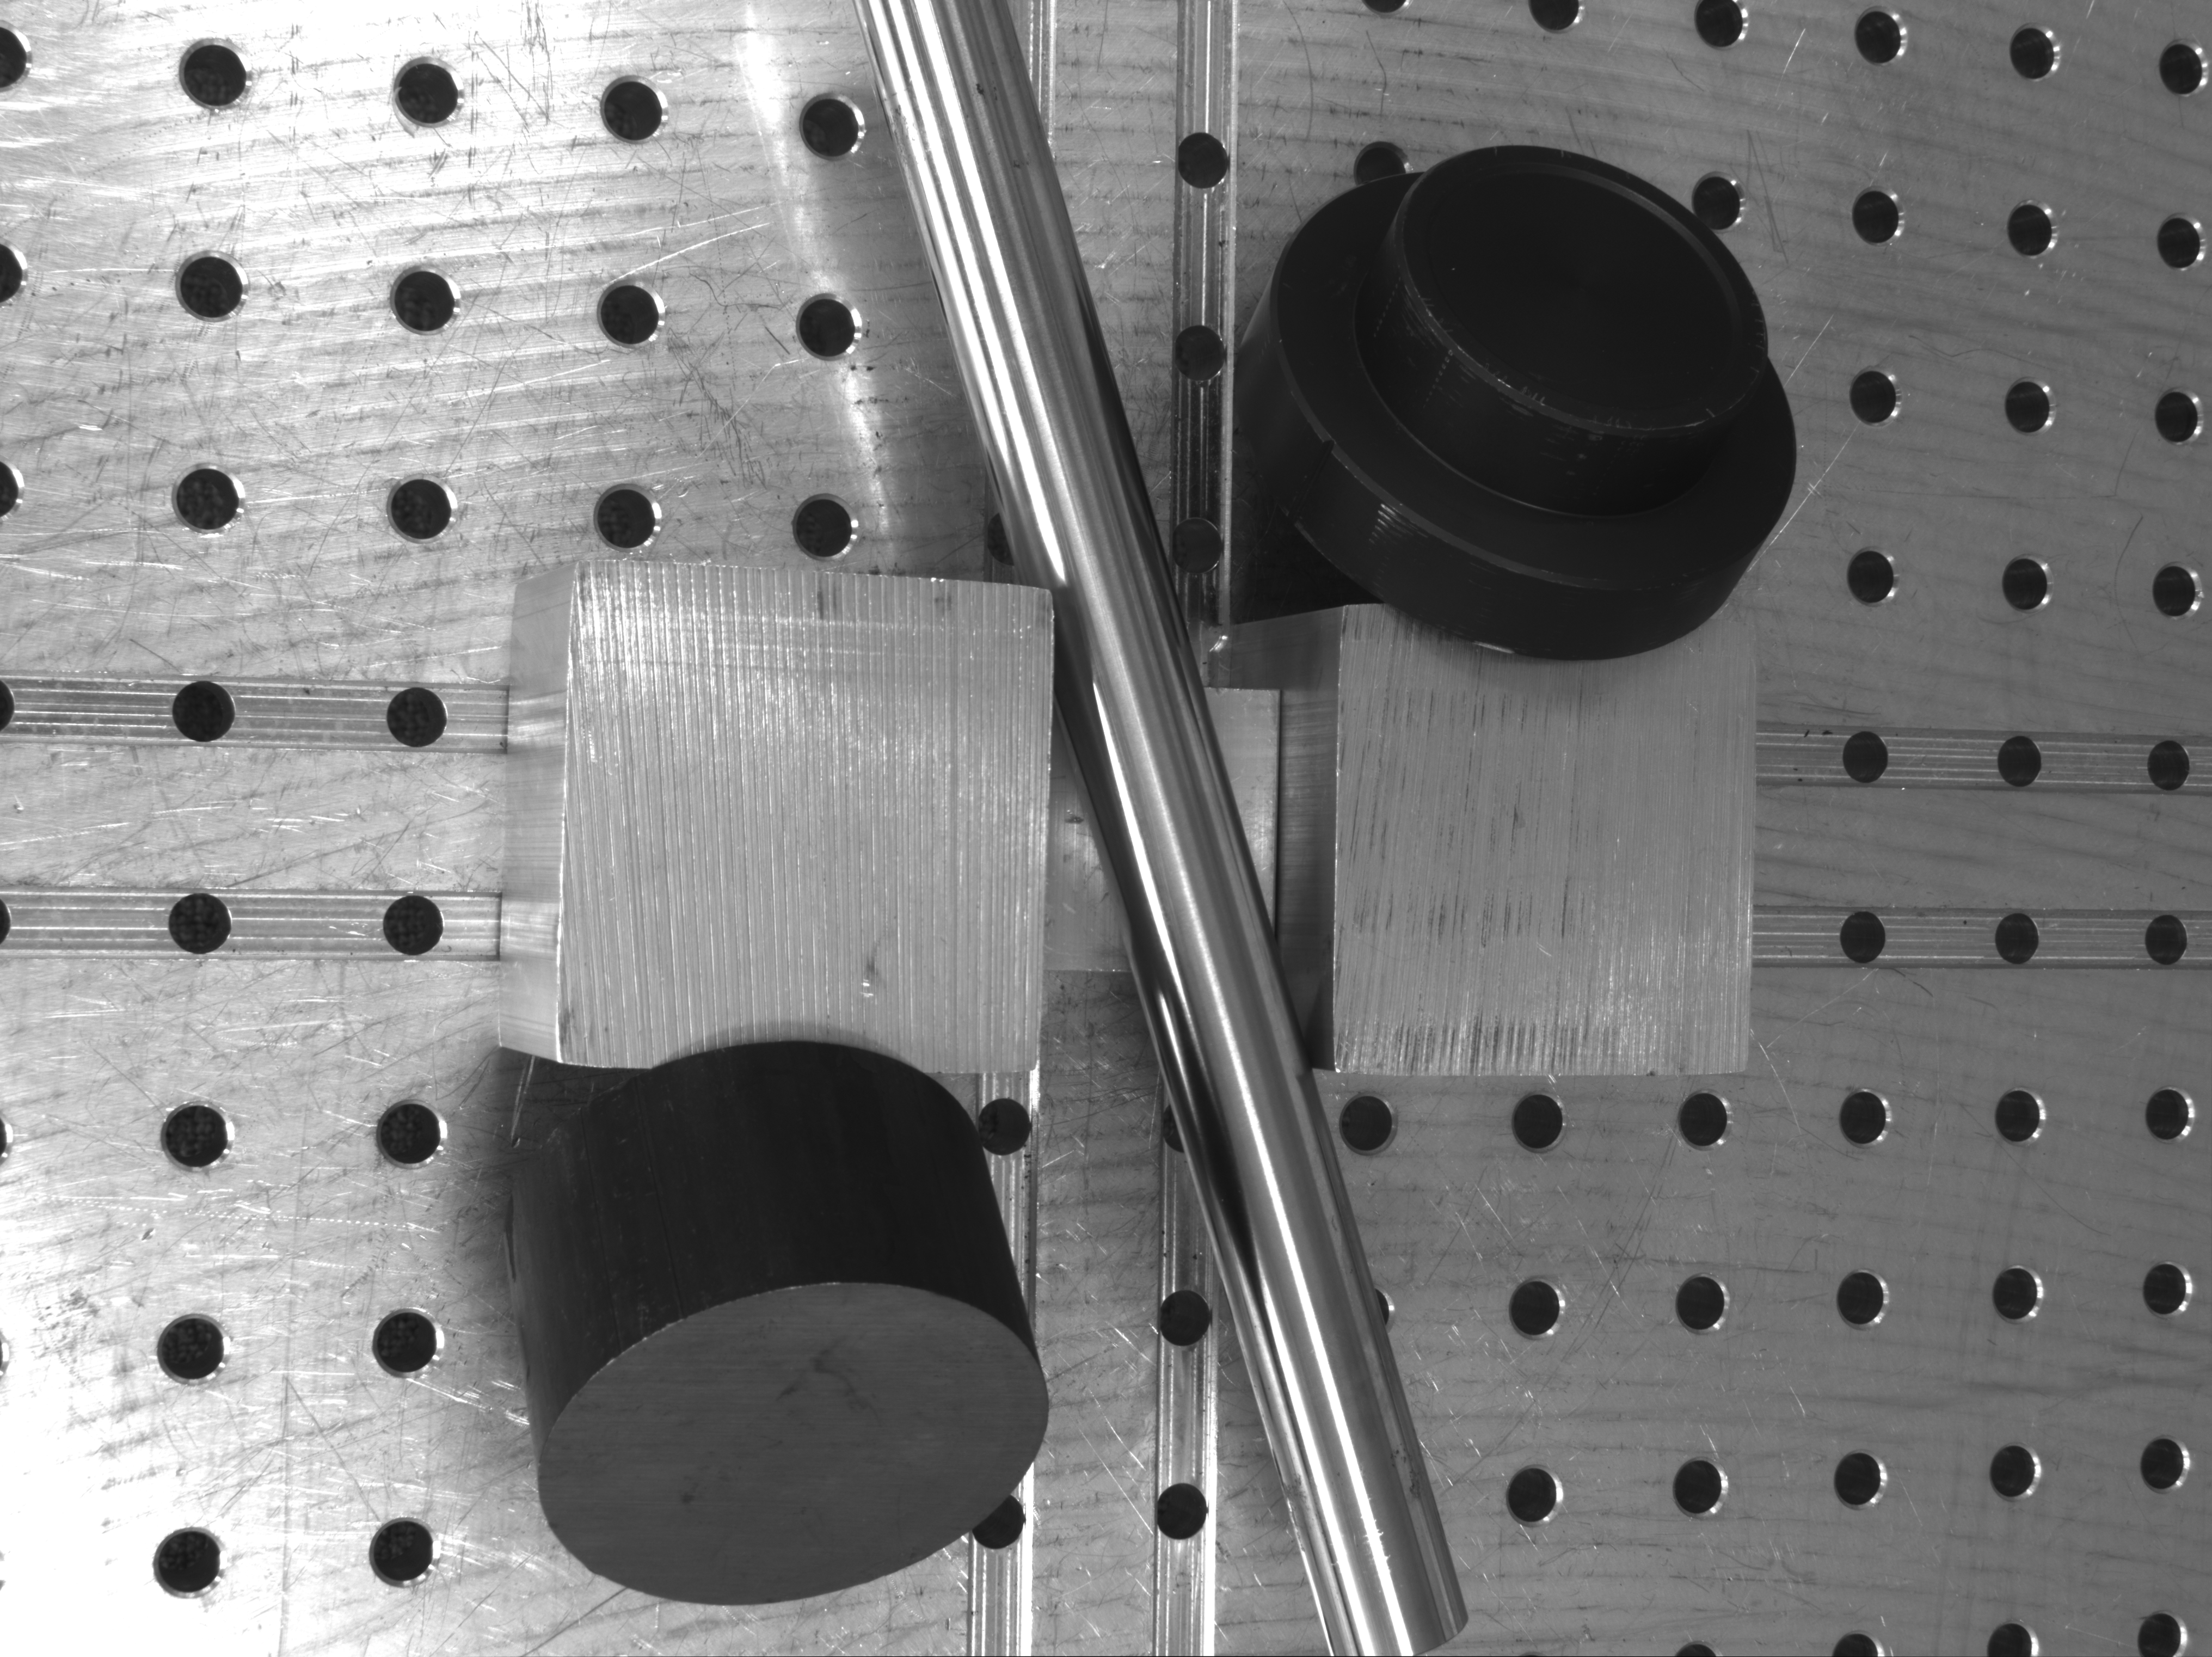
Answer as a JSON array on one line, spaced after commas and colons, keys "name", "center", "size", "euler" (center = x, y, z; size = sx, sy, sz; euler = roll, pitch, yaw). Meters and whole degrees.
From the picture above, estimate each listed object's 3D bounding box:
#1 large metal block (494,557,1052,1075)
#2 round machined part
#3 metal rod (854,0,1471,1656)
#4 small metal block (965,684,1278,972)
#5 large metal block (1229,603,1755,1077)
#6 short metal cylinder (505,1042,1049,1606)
[{"name": "large metal block", "center": [-0.056, -0.001, 0.613], "size": [0.080, 0.050, 0.080], "euler": [2, 89, -20]}, {"name": "round machined part", "center": [0.075, -0.080, 0.638], "size": [0.098, 0.042, 0.098], "euler": [10, 52, -13]}, {"name": "metal rod", "center": [0.010, -0.003, 0.622], "size": [0.025, 0.025, 0.300], "euler": [-18, 96, -19]}, {"name": "small metal block", "center": [0.002, 0.000, 0.647], "size": [0.050, 0.025, 0.050], "euler": [1, 90, -20]}, {"name": "large metal block", "center": [0.068, 0.003, 0.658], "size": [0.080, 0.050, 0.080], "euler": [1, 90, -20]}, {"name": "short metal cylinder", "center": [-0.054, 0.080, 0.591], "size": [0.080, 0.050, 0.080], "euler": [-9, 135, -9]}]
